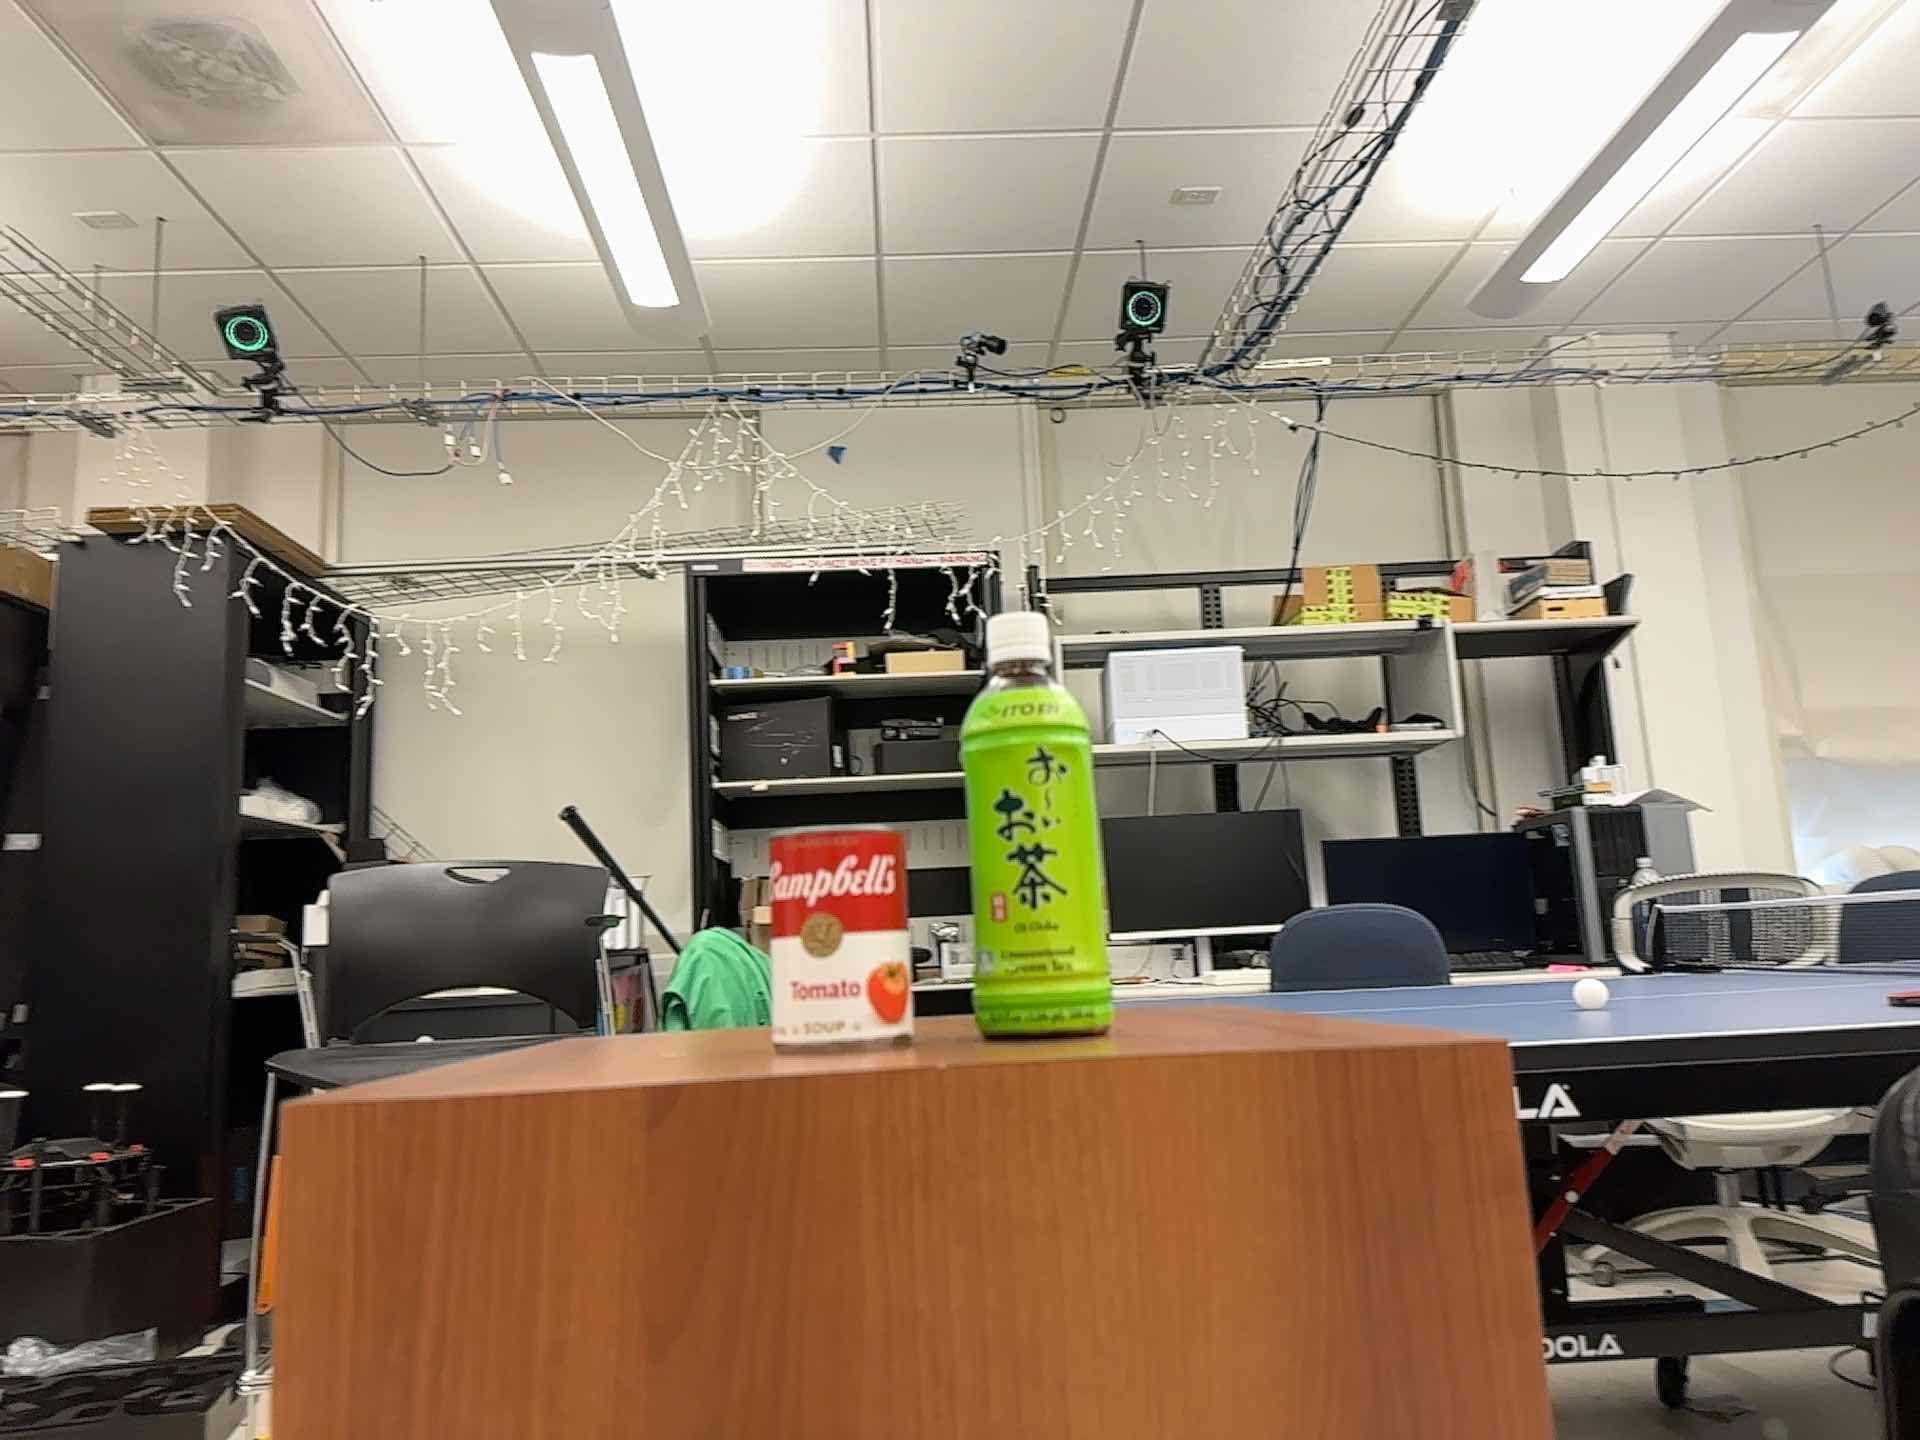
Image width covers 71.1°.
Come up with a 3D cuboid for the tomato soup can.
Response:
[{"bbox_3d":[-0.059,0.101,0.638,0.067,0.102,0.067,-3,-10,-1],"label":"tomato soup can"}]

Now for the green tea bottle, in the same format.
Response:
[{"bbox_3d":[0.035,0.050,0.665,0.073,0.212,0.073,-5,-9,-1],"label":"green tea bottle"}]
